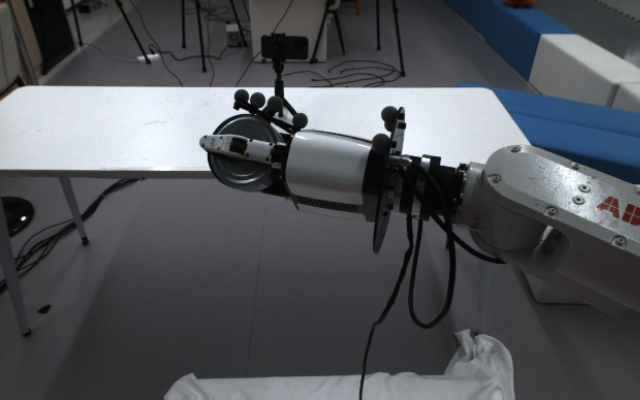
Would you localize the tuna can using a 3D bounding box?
[{"bbox_3d":[-0.081,-0.053,0.554,0.085,0.085,0.034,13,-5,16],"label":"tuna can"}]
